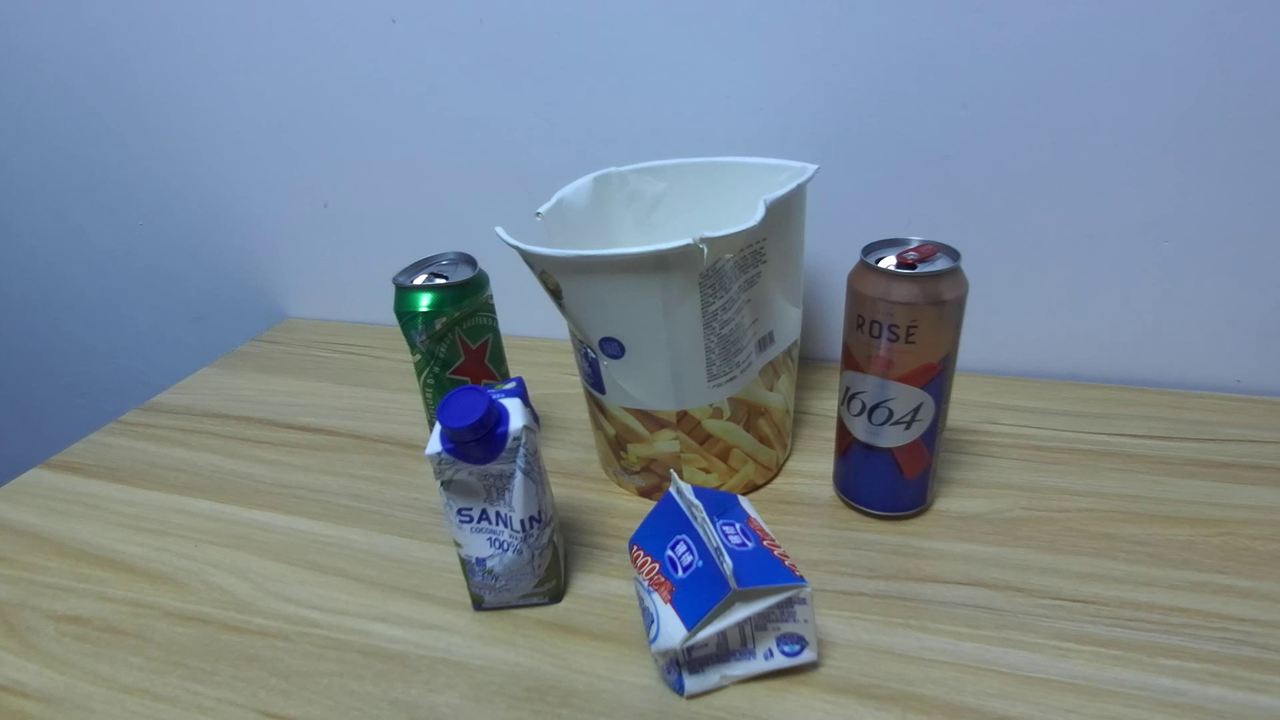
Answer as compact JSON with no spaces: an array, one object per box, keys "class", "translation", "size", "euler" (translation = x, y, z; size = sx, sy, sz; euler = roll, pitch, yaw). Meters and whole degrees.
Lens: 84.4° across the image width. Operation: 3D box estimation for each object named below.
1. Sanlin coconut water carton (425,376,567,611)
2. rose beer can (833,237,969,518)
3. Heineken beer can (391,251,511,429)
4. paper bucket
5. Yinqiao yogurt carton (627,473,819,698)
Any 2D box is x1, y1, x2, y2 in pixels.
[{"class":"Sanlin coconut water carton","translation":[-0.081,0.071,0.398],"size":[0.061,0.144,0.070],"euler":[-6,29,2]},{"class":"rose beer can","translation":[0.157,0.015,0.436],"size":[0.068,0.169,0.068],"euler":[-4,27,2]},{"class":"Heineken beer can","translation":[-0.121,0.011,0.494],"size":[0.078,0.164,0.065],"euler":[-26,34,-29]},{"class":"paper bucket","translation":[0.029,-0.022,0.488],"size":[0.145,0.197,0.203],"euler":[9,31,28]},{"class":"Yinqiao yogurt carton","translation":[0.035,0.110,0.355],"size":[0.080,0.097,0.074],"euler":[-19,31,-9]}]
